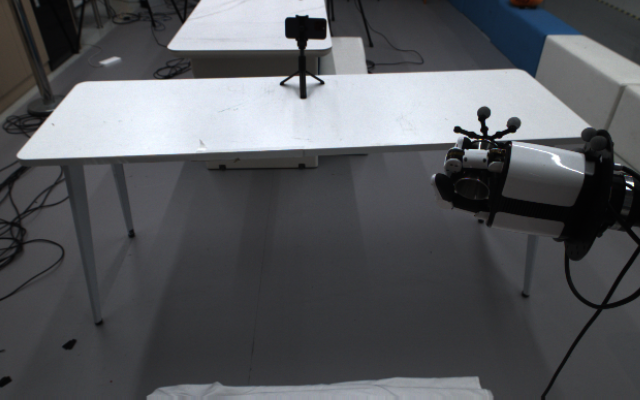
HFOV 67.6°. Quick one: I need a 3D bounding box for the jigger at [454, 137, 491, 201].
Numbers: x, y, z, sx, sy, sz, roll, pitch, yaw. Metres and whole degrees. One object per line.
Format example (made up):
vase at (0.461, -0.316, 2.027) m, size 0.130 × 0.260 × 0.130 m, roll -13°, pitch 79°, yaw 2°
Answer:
jigger at (0.202, -0.043, 0.617) m, size 0.043 × 0.043 × 0.071 m, roll 16°, pitch 59°, yaw 19°
